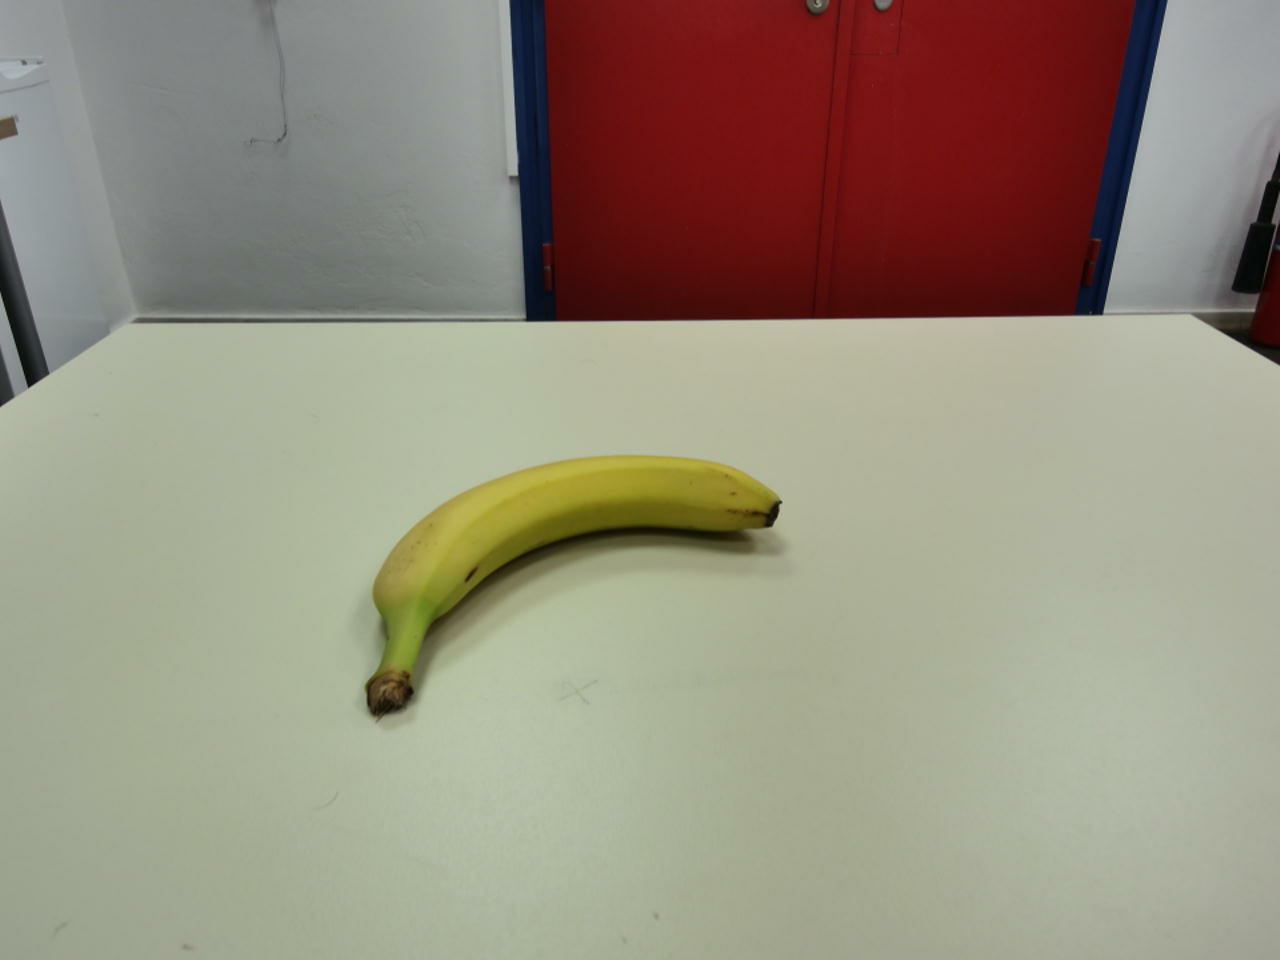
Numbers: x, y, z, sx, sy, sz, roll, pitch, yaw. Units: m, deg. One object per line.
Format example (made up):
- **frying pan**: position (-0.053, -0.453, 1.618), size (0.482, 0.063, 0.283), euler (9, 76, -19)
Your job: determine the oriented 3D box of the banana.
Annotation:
- **banana**: position (-0.039, 0.025, 0.422), size (0.196, 0.041, 0.094), euler (-17, 29, -32)
